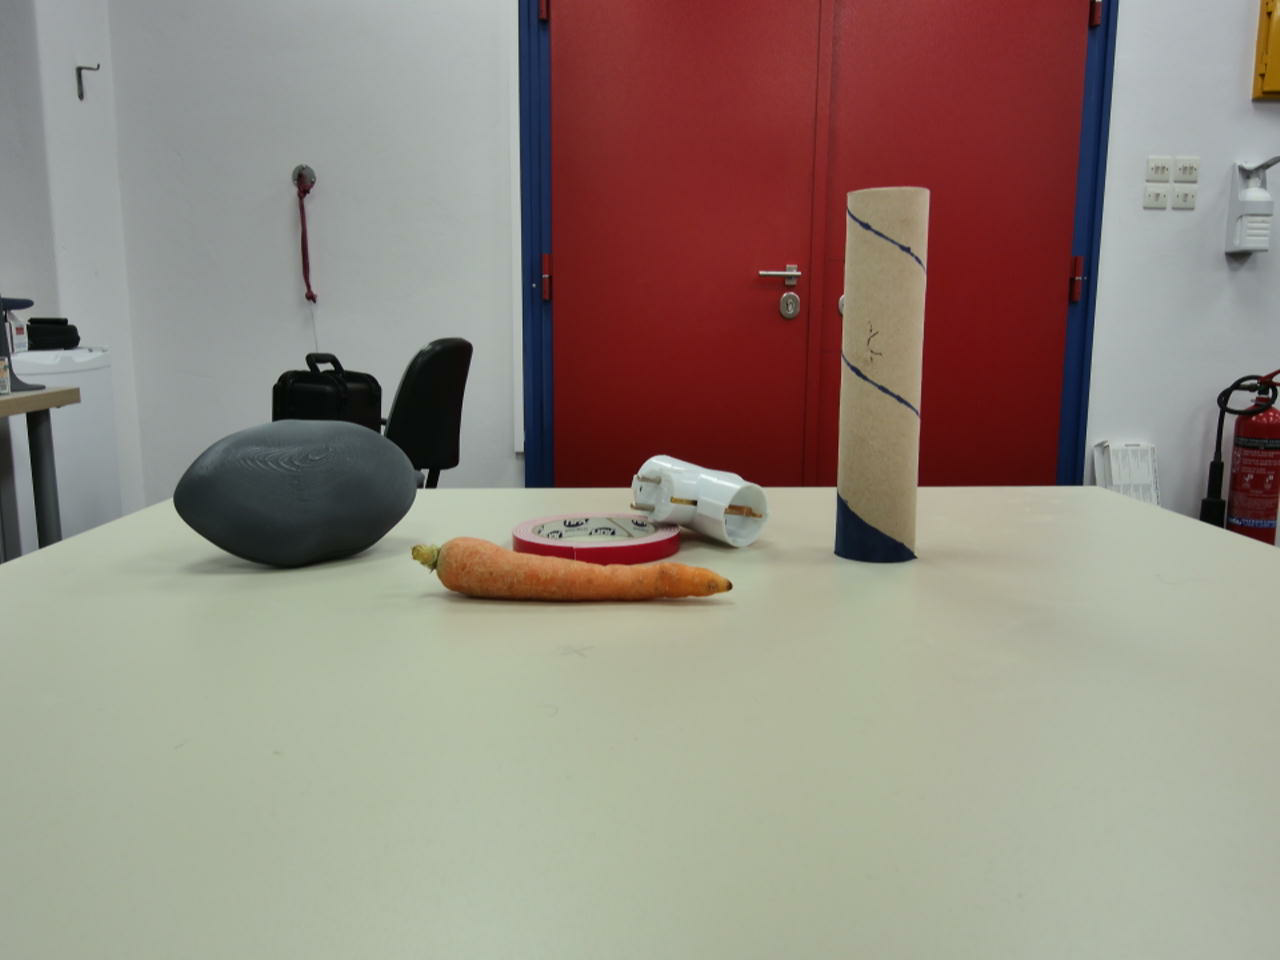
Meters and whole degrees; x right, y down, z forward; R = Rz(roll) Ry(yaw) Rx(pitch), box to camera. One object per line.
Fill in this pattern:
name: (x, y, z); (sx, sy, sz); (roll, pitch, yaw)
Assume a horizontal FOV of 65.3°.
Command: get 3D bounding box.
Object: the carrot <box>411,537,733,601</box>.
carrot: (-0.037, 0.048, 0.531); (0.173, 0.032, 0.030); (1, 6, 9)
